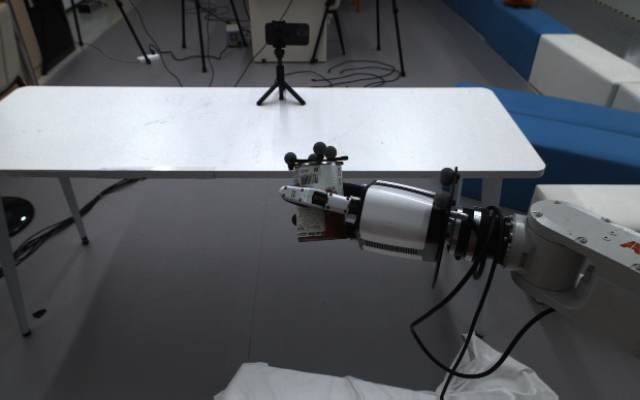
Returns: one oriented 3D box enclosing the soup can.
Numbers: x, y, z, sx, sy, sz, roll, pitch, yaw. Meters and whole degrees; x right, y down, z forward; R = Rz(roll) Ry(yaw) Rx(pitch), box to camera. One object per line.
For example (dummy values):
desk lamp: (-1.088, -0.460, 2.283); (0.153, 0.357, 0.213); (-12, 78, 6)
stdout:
soup can: (0.001, 0.004, 0.649); (0.067, 0.101, 0.067); (-5, -5, 0)
